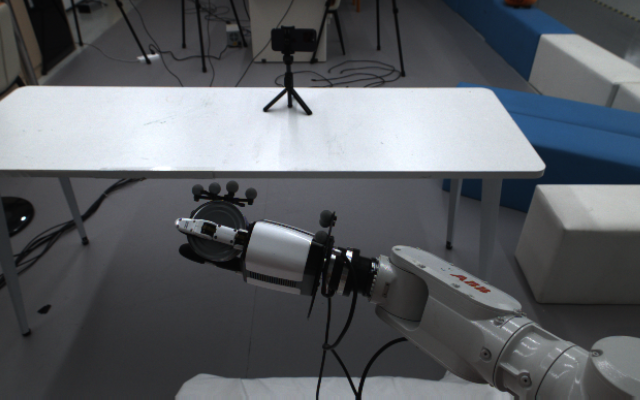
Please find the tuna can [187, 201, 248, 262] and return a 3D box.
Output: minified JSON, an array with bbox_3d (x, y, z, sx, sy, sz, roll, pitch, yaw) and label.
[{"bbox_3d":[-0.145,0.045,0.694,0.085,0.034,0.085,-1,75,4],"label":"tuna can"}]
